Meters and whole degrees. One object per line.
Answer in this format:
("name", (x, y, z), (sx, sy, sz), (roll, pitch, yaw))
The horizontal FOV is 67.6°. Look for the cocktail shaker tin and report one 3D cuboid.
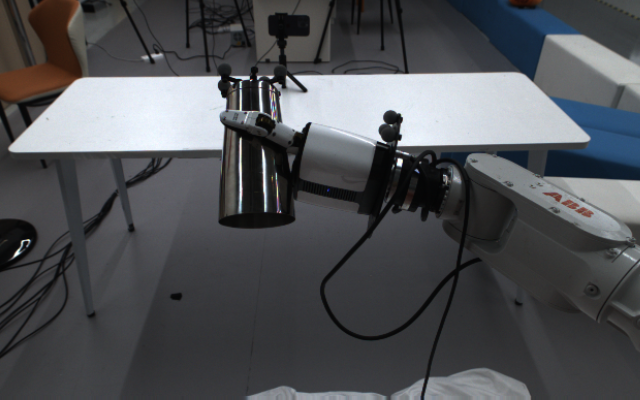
("cocktail shaker tin", (-0.080, -0.056, 0.598), (0.093, 0.093, 0.170), (-3, 76, -7))
